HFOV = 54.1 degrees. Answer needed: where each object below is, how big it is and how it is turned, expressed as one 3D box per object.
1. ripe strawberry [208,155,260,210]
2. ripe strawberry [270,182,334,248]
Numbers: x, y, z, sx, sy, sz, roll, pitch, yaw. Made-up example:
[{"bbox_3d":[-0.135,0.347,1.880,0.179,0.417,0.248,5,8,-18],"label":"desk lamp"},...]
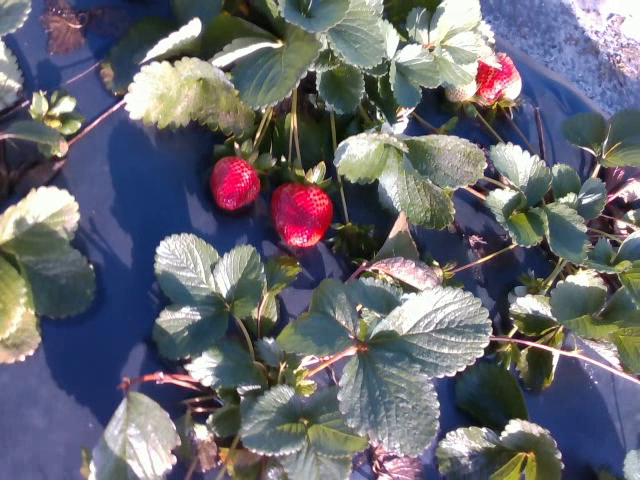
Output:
[{"bbox_3d":[-0.065,-0.038,0.440,0.043,0.052,0.037,-7,-38,11],"label":"ripe strawberry"},{"bbox_3d":[-0.014,-0.015,0.446,0.052,0.058,0.046,2,-39,9],"label":"ripe strawberry"}]
